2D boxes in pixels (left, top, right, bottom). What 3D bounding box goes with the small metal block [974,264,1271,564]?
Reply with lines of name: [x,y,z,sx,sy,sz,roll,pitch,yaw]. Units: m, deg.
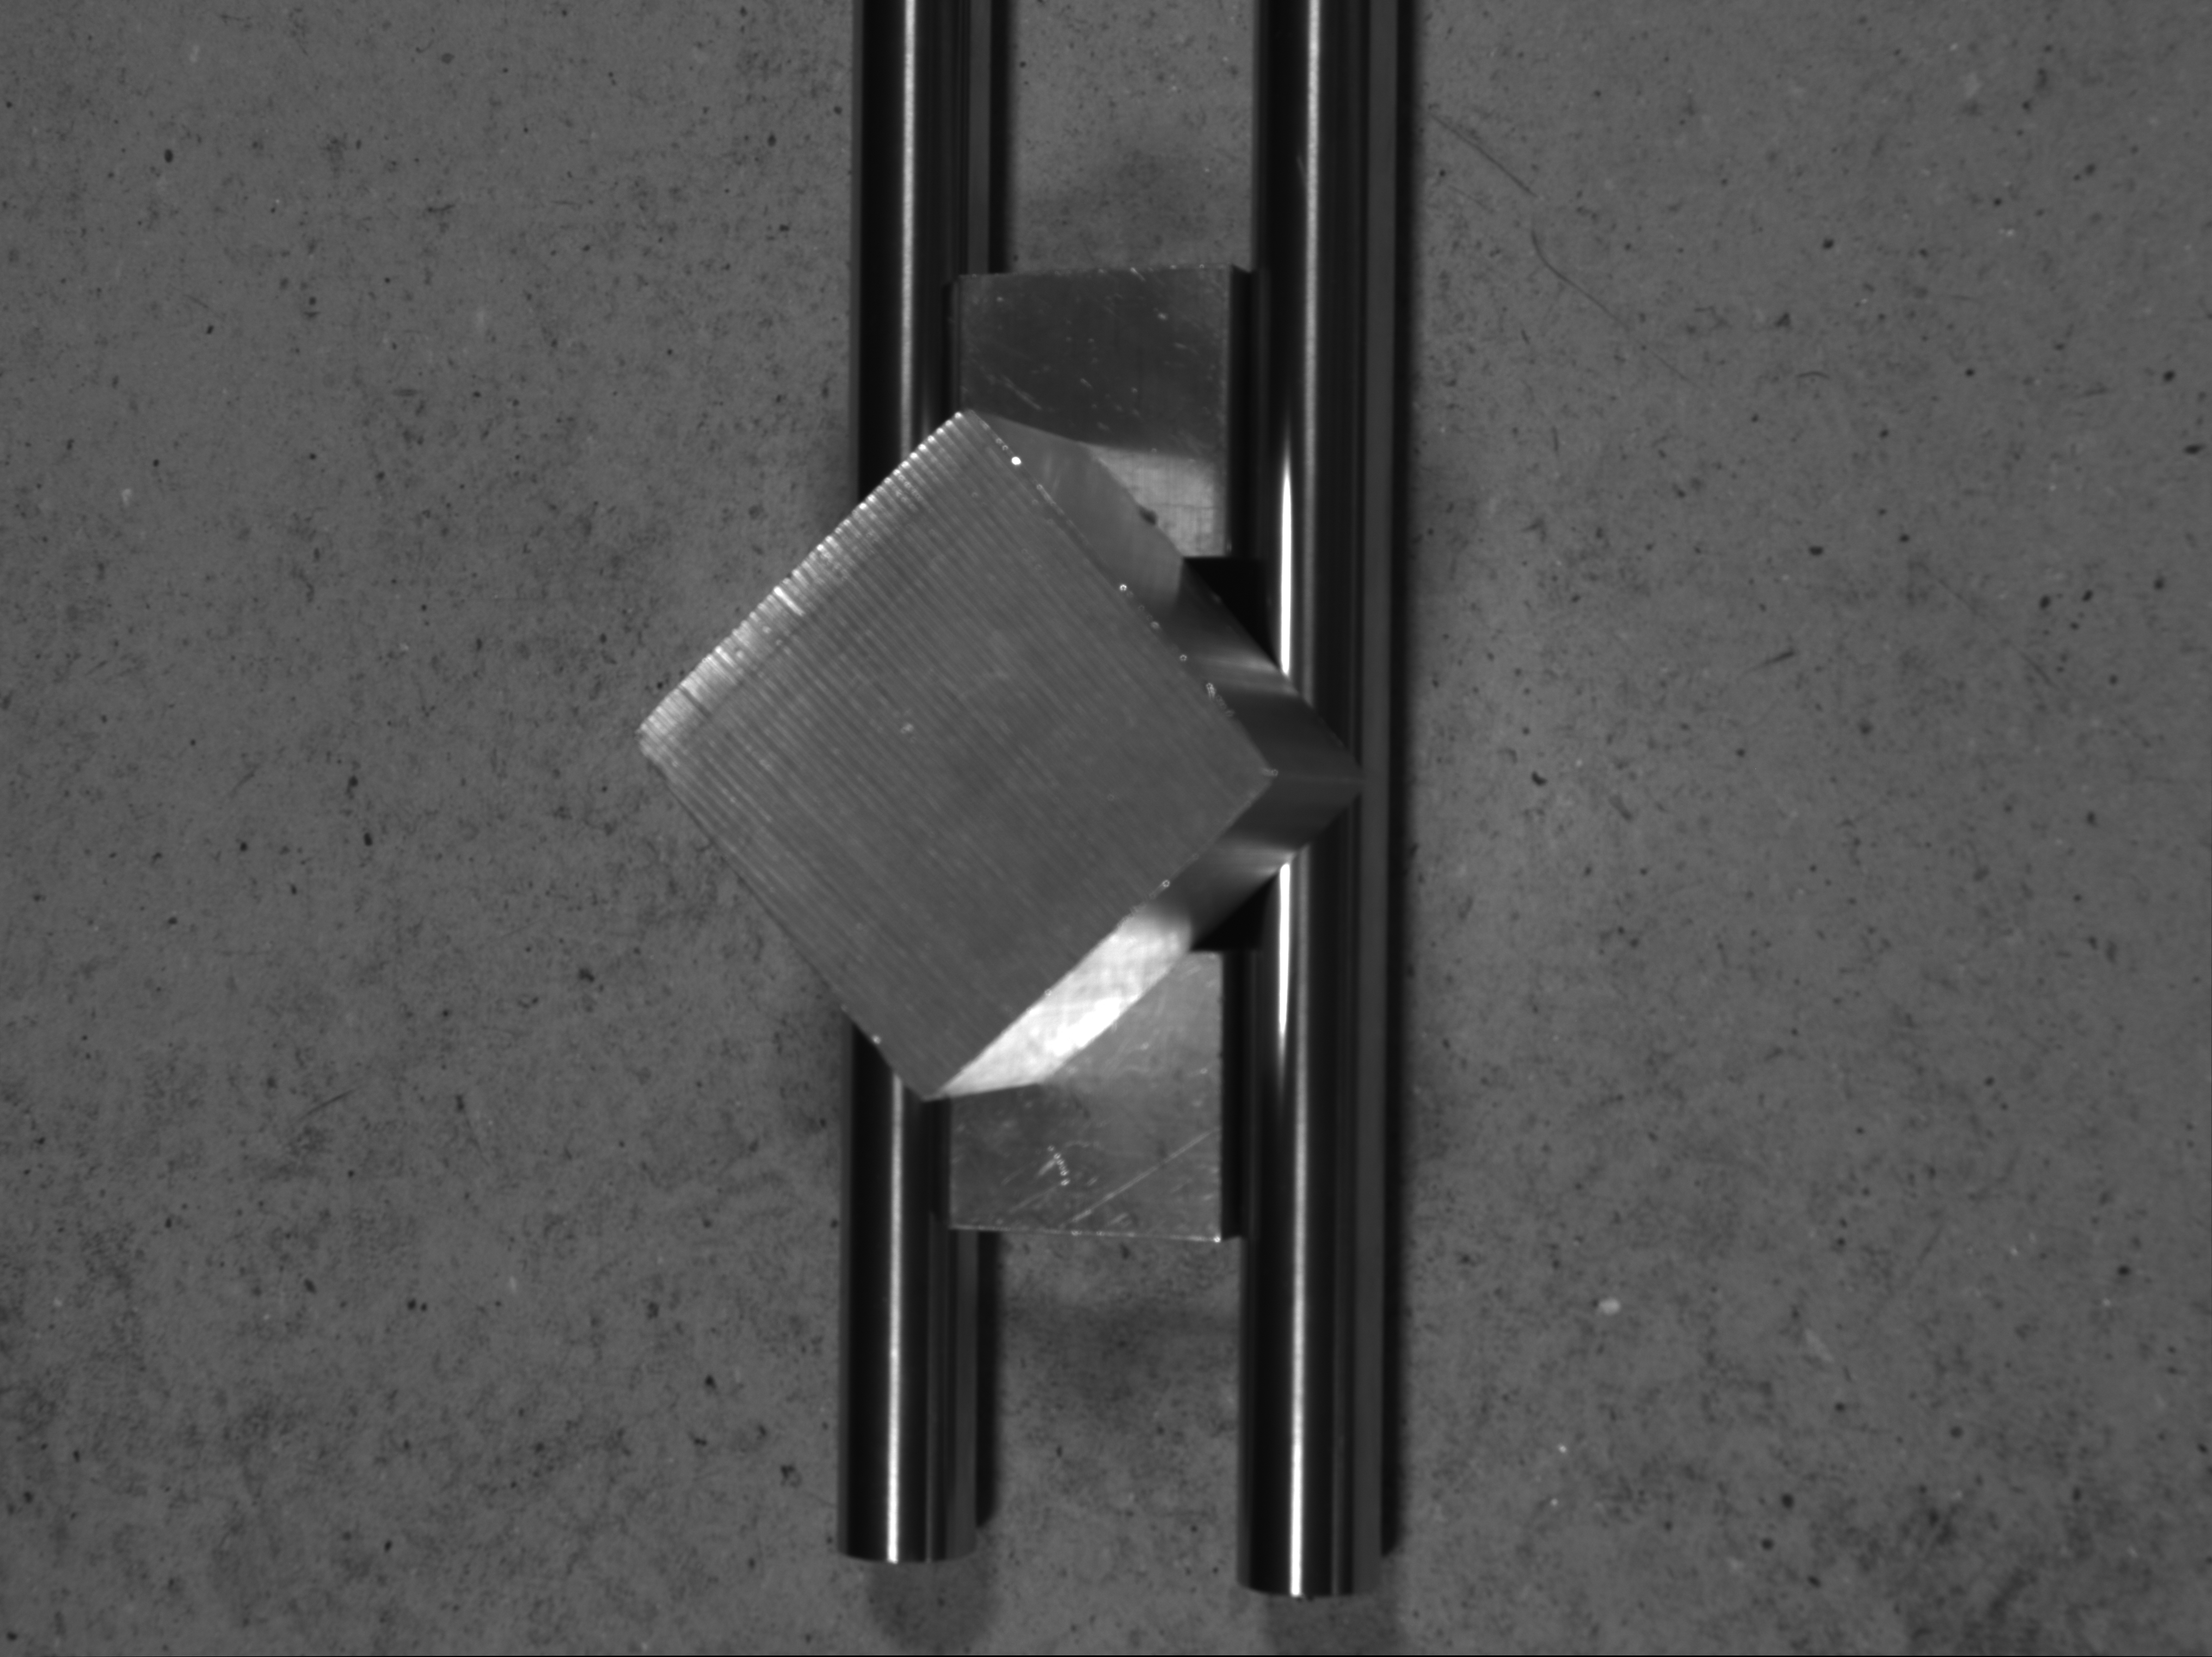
small metal block: [0.005,-0.071,0.642,0.050,0.025,0.050,1,90,20]

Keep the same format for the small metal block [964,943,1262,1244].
small metal block: [0.003,0.045,0.642,0.050,0.025,0.050,1,90,20]

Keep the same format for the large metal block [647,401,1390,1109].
large metal block: [-0.014,-0.012,0.608,0.080,0.050,0.080,-43,77,15]

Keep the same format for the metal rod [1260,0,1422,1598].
metal rod: [0.041,-0.020,0.631,0.025,0.025,0.300,1,90,20]

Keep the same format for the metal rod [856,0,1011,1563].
metal rod: [-0.031,-0.021,0.656,0.025,0.025,0.300,1,90,20]
